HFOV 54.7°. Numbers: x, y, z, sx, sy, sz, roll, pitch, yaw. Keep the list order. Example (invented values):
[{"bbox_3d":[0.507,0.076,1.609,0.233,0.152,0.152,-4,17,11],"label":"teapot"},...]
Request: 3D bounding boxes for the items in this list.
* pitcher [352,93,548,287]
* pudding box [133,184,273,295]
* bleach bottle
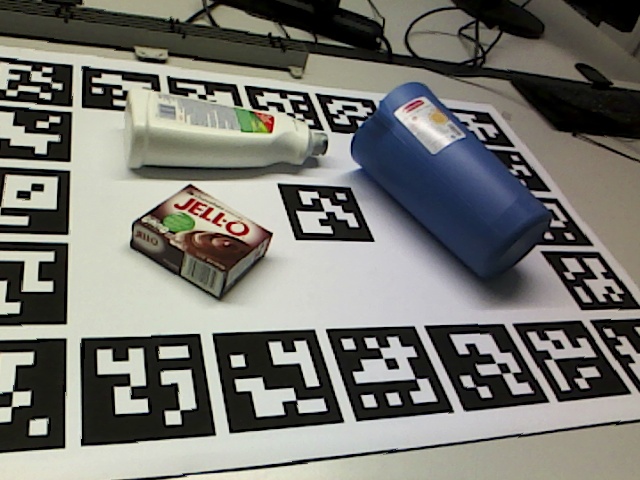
[{"bbox_3d":[0.166,-0.059,0.787,0.244,0.133,0.187,51,14,23],"label":"pitcher"},{"bbox_3d":[-0.120,-0.004,0.638,0.114,0.038,0.090,34,36,11],"label":"pudding box"},{"bbox_3d":[-0.106,-0.130,0.772,0.249,0.068,0.103,1,49,-26],"label":"bleach bottle"}]
